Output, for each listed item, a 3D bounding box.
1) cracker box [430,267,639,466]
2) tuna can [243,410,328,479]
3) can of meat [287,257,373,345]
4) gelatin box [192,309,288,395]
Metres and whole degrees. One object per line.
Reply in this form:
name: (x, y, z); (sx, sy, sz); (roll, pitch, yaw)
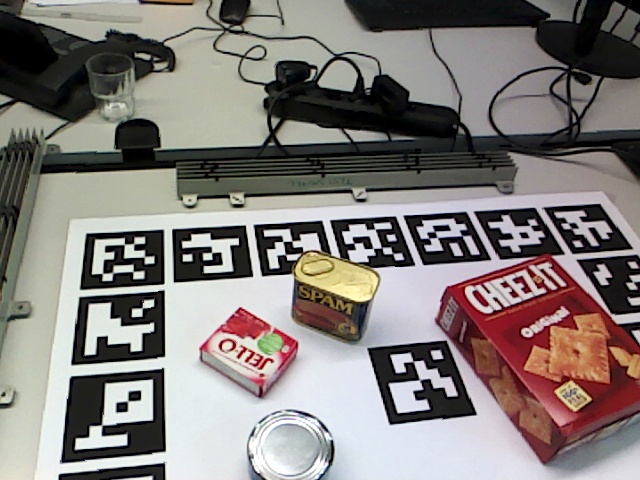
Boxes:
cracker box: (0.265, 0.139, 0.745); (0.163, 0.072, 0.215); (-14, 44, -24)
tuna can: (-0.035, 0.221, 0.633); (0.085, 0.033, 0.086); (3, 45, -3)
can of meat: (0.009, 0.078, 0.775); (0.102, 0.083, 0.058); (16, 42, 13)
gelatin box: (-0.094, 0.130, 0.734); (0.090, 0.030, 0.073); (27, 43, 18)
